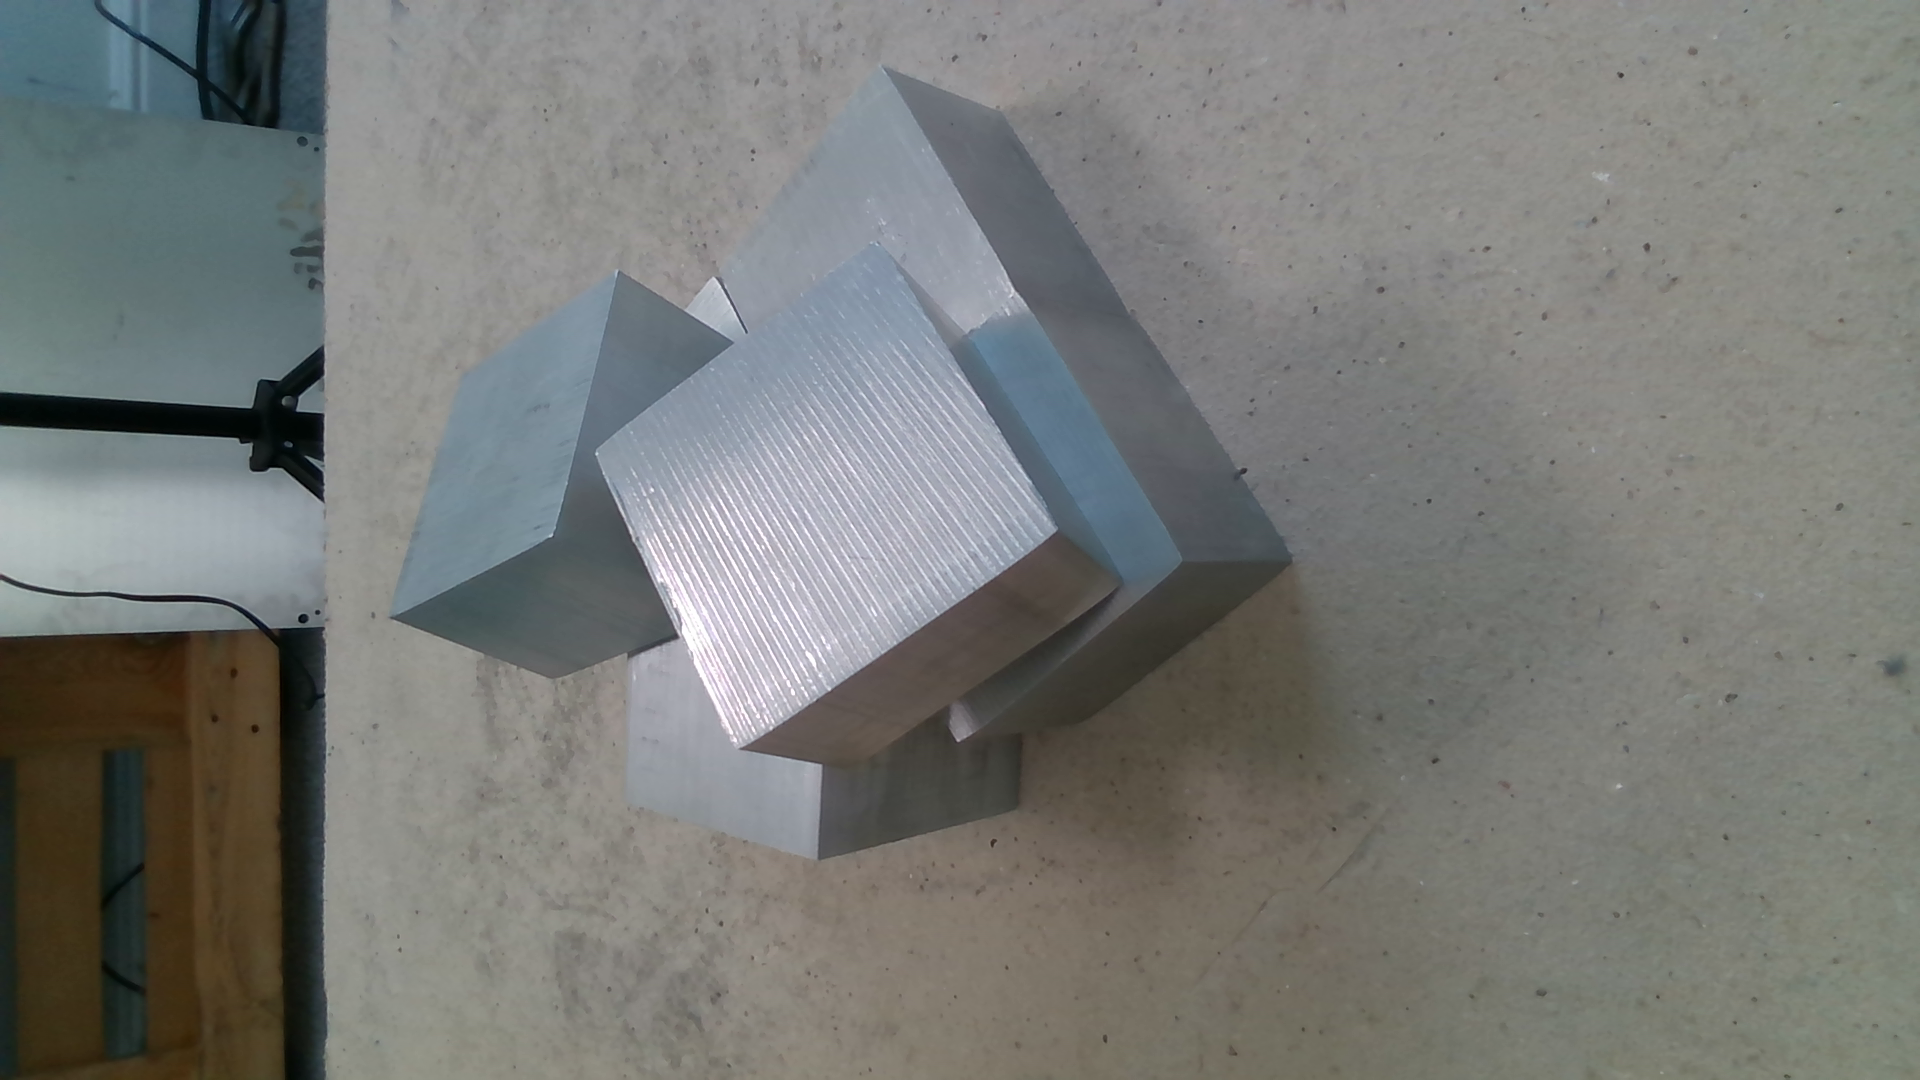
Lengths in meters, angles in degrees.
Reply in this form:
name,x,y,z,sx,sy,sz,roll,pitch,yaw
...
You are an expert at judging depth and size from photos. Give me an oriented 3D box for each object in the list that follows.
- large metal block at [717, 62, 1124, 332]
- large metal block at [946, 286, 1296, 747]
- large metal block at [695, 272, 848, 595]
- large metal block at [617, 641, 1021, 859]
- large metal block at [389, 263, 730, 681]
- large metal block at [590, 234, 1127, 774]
name,x,y,z,sx,sy,sz,roll,pitch,yaw
large metal block,-0.012,-0.069,0.385,0.080,0.050,0.080,-43,64,32
large metal block,0.023,-0.005,0.353,0.080,0.050,0.080,-43,65,32
large metal block,-0.061,-0.023,0.428,0.080,0.050,0.080,-43,64,32
large metal block,-0.038,0.050,0.388,0.080,0.080,0.050,5,93,40
large metal block,-0.104,-0.015,0.377,0.080,0.050,0.080,-21,52,39
large metal block,-0.023,-0.005,0.308,0.080,0.050,0.080,-35,67,10
